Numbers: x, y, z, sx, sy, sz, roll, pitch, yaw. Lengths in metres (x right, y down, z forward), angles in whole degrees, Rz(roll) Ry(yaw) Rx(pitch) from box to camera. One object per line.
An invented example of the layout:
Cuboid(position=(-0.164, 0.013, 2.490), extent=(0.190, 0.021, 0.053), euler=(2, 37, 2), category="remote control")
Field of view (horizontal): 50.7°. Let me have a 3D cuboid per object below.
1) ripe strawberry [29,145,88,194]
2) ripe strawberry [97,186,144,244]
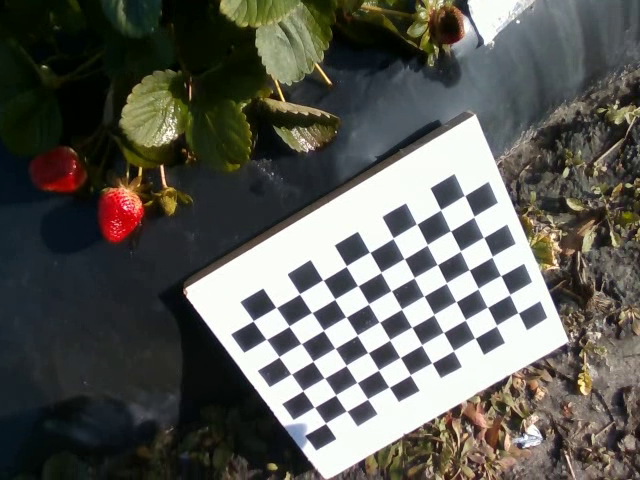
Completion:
Cuboid(position=(-0.231, -0.067, 0.580), extent=(0.054, 0.048, 0.039), euler=(-24, 27, -28), category="ripe strawberry")
Cuboid(position=(-0.176, -0.024, 0.571), extent=(0.043, 0.053, 0.038), euler=(12, -21, -16), category="ripe strawberry")
